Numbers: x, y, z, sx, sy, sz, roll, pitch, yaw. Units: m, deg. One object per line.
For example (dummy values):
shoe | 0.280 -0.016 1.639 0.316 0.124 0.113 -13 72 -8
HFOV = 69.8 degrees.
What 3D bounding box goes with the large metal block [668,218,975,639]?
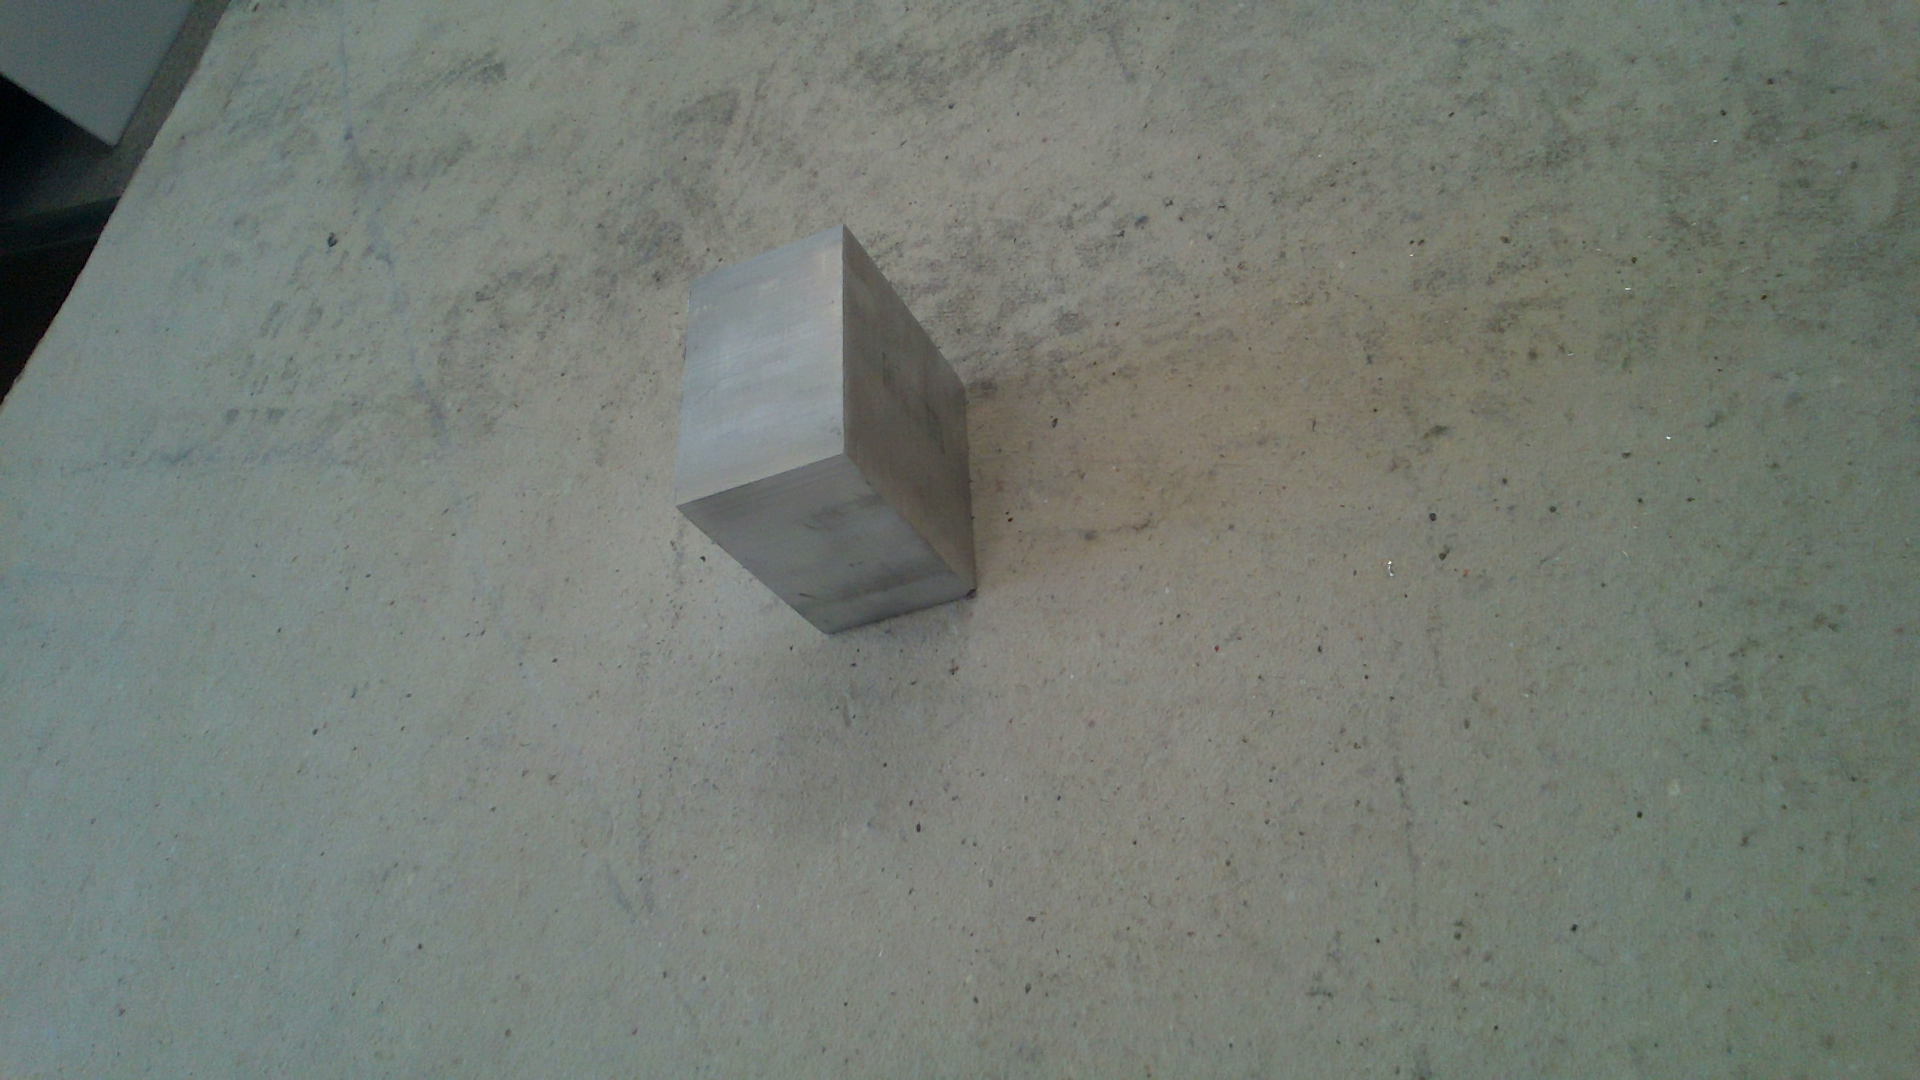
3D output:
large metal block | -0.037 -0.030 0.396 0.050 0.080 0.080 -16 55 19
